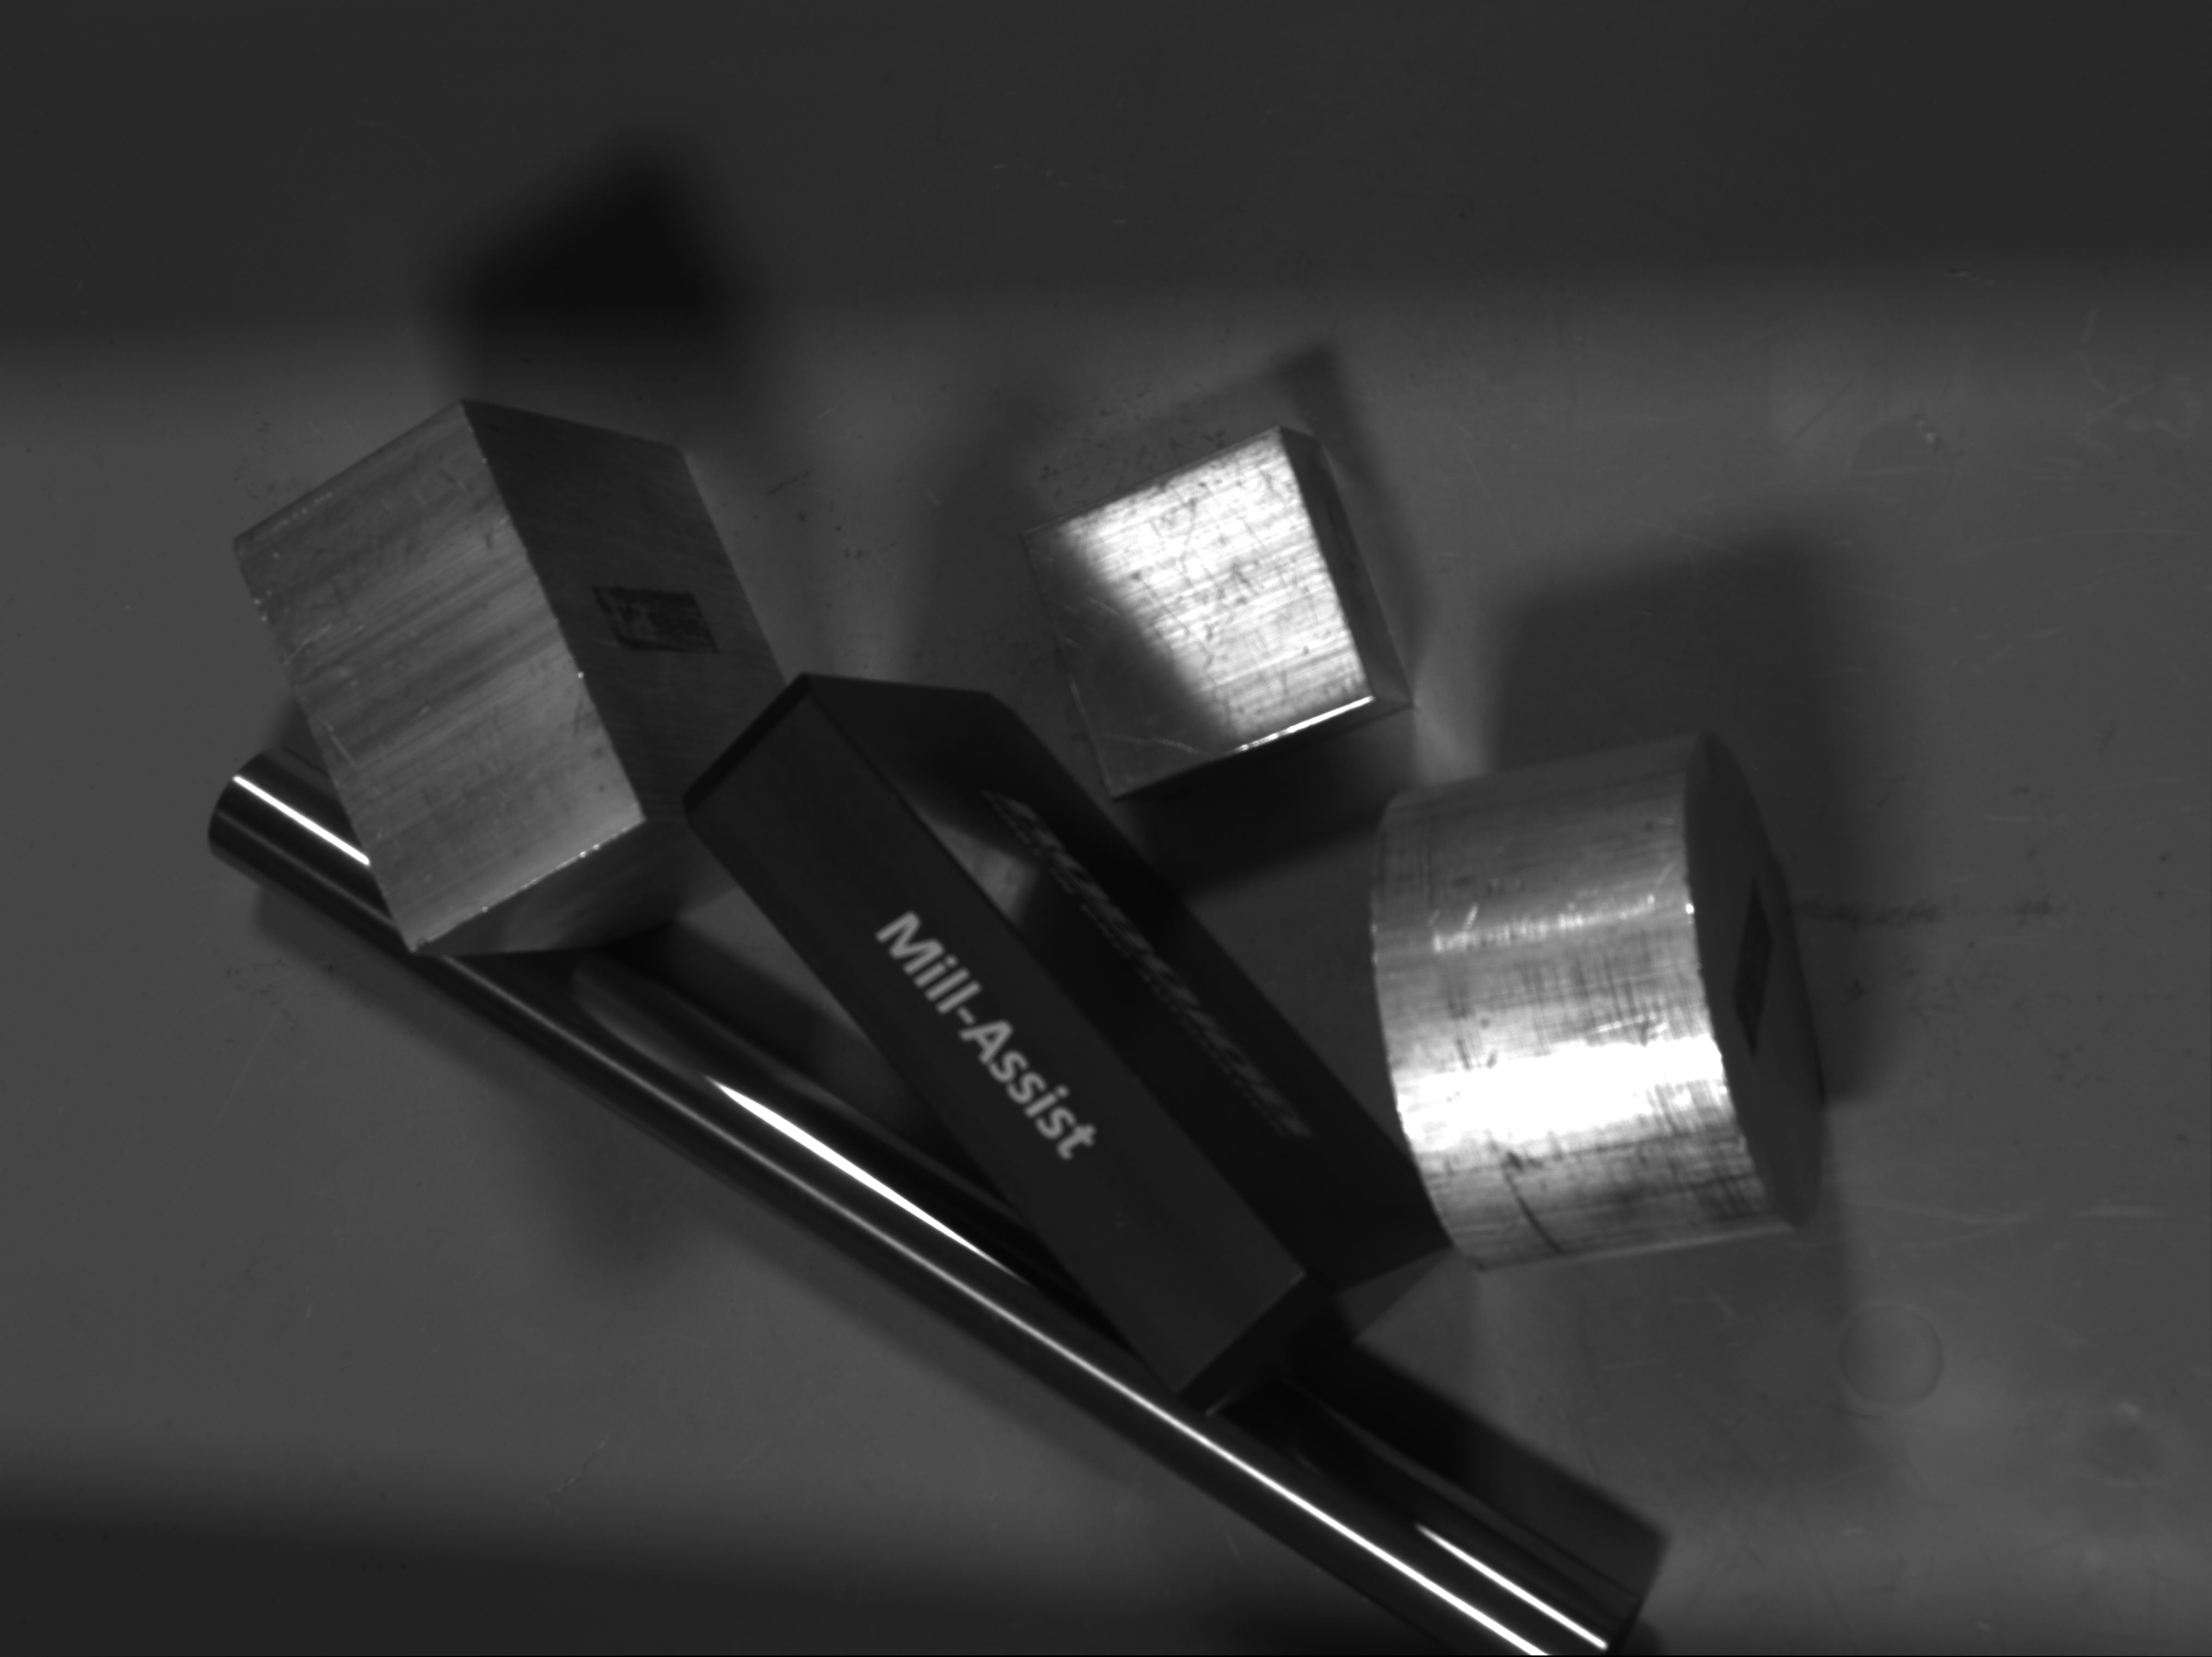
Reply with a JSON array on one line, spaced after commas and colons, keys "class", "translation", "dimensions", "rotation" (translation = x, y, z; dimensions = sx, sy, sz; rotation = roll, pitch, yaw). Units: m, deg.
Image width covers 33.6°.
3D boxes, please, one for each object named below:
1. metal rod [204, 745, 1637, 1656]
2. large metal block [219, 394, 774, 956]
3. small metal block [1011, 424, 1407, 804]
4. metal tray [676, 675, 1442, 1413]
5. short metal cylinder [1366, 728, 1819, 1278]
[{"class": "metal rod", "translation": [-0.041, 0.067, 0.658], "dimensions": [0.300, 0.025, 0.025], "rotation": [30, 100, 17]}, {"class": "large metal block", "translation": [-0.100, -0.025, 0.650], "dimensions": [0.050, 0.080, 0.080], "rotation": [-28, 81, 18]}, {"class": "small metal block", "translation": [0.018, -0.036, 0.636], "dimensions": [0.050, 0.025, 0.050], "rotation": [-21, 83, 18]}, {"class": "metal tray", "translation": [-0.004, 0.033, 0.609], "dimensions": [0.030, 0.090, 0.130], "rotation": [-45, 76, 14]}, {"class": "short metal cylinder", "translation": [0.079, 0.028, 0.586], "dimensions": [0.050, 0.080, 0.080], "rotation": [-12, 86, 20]}]
